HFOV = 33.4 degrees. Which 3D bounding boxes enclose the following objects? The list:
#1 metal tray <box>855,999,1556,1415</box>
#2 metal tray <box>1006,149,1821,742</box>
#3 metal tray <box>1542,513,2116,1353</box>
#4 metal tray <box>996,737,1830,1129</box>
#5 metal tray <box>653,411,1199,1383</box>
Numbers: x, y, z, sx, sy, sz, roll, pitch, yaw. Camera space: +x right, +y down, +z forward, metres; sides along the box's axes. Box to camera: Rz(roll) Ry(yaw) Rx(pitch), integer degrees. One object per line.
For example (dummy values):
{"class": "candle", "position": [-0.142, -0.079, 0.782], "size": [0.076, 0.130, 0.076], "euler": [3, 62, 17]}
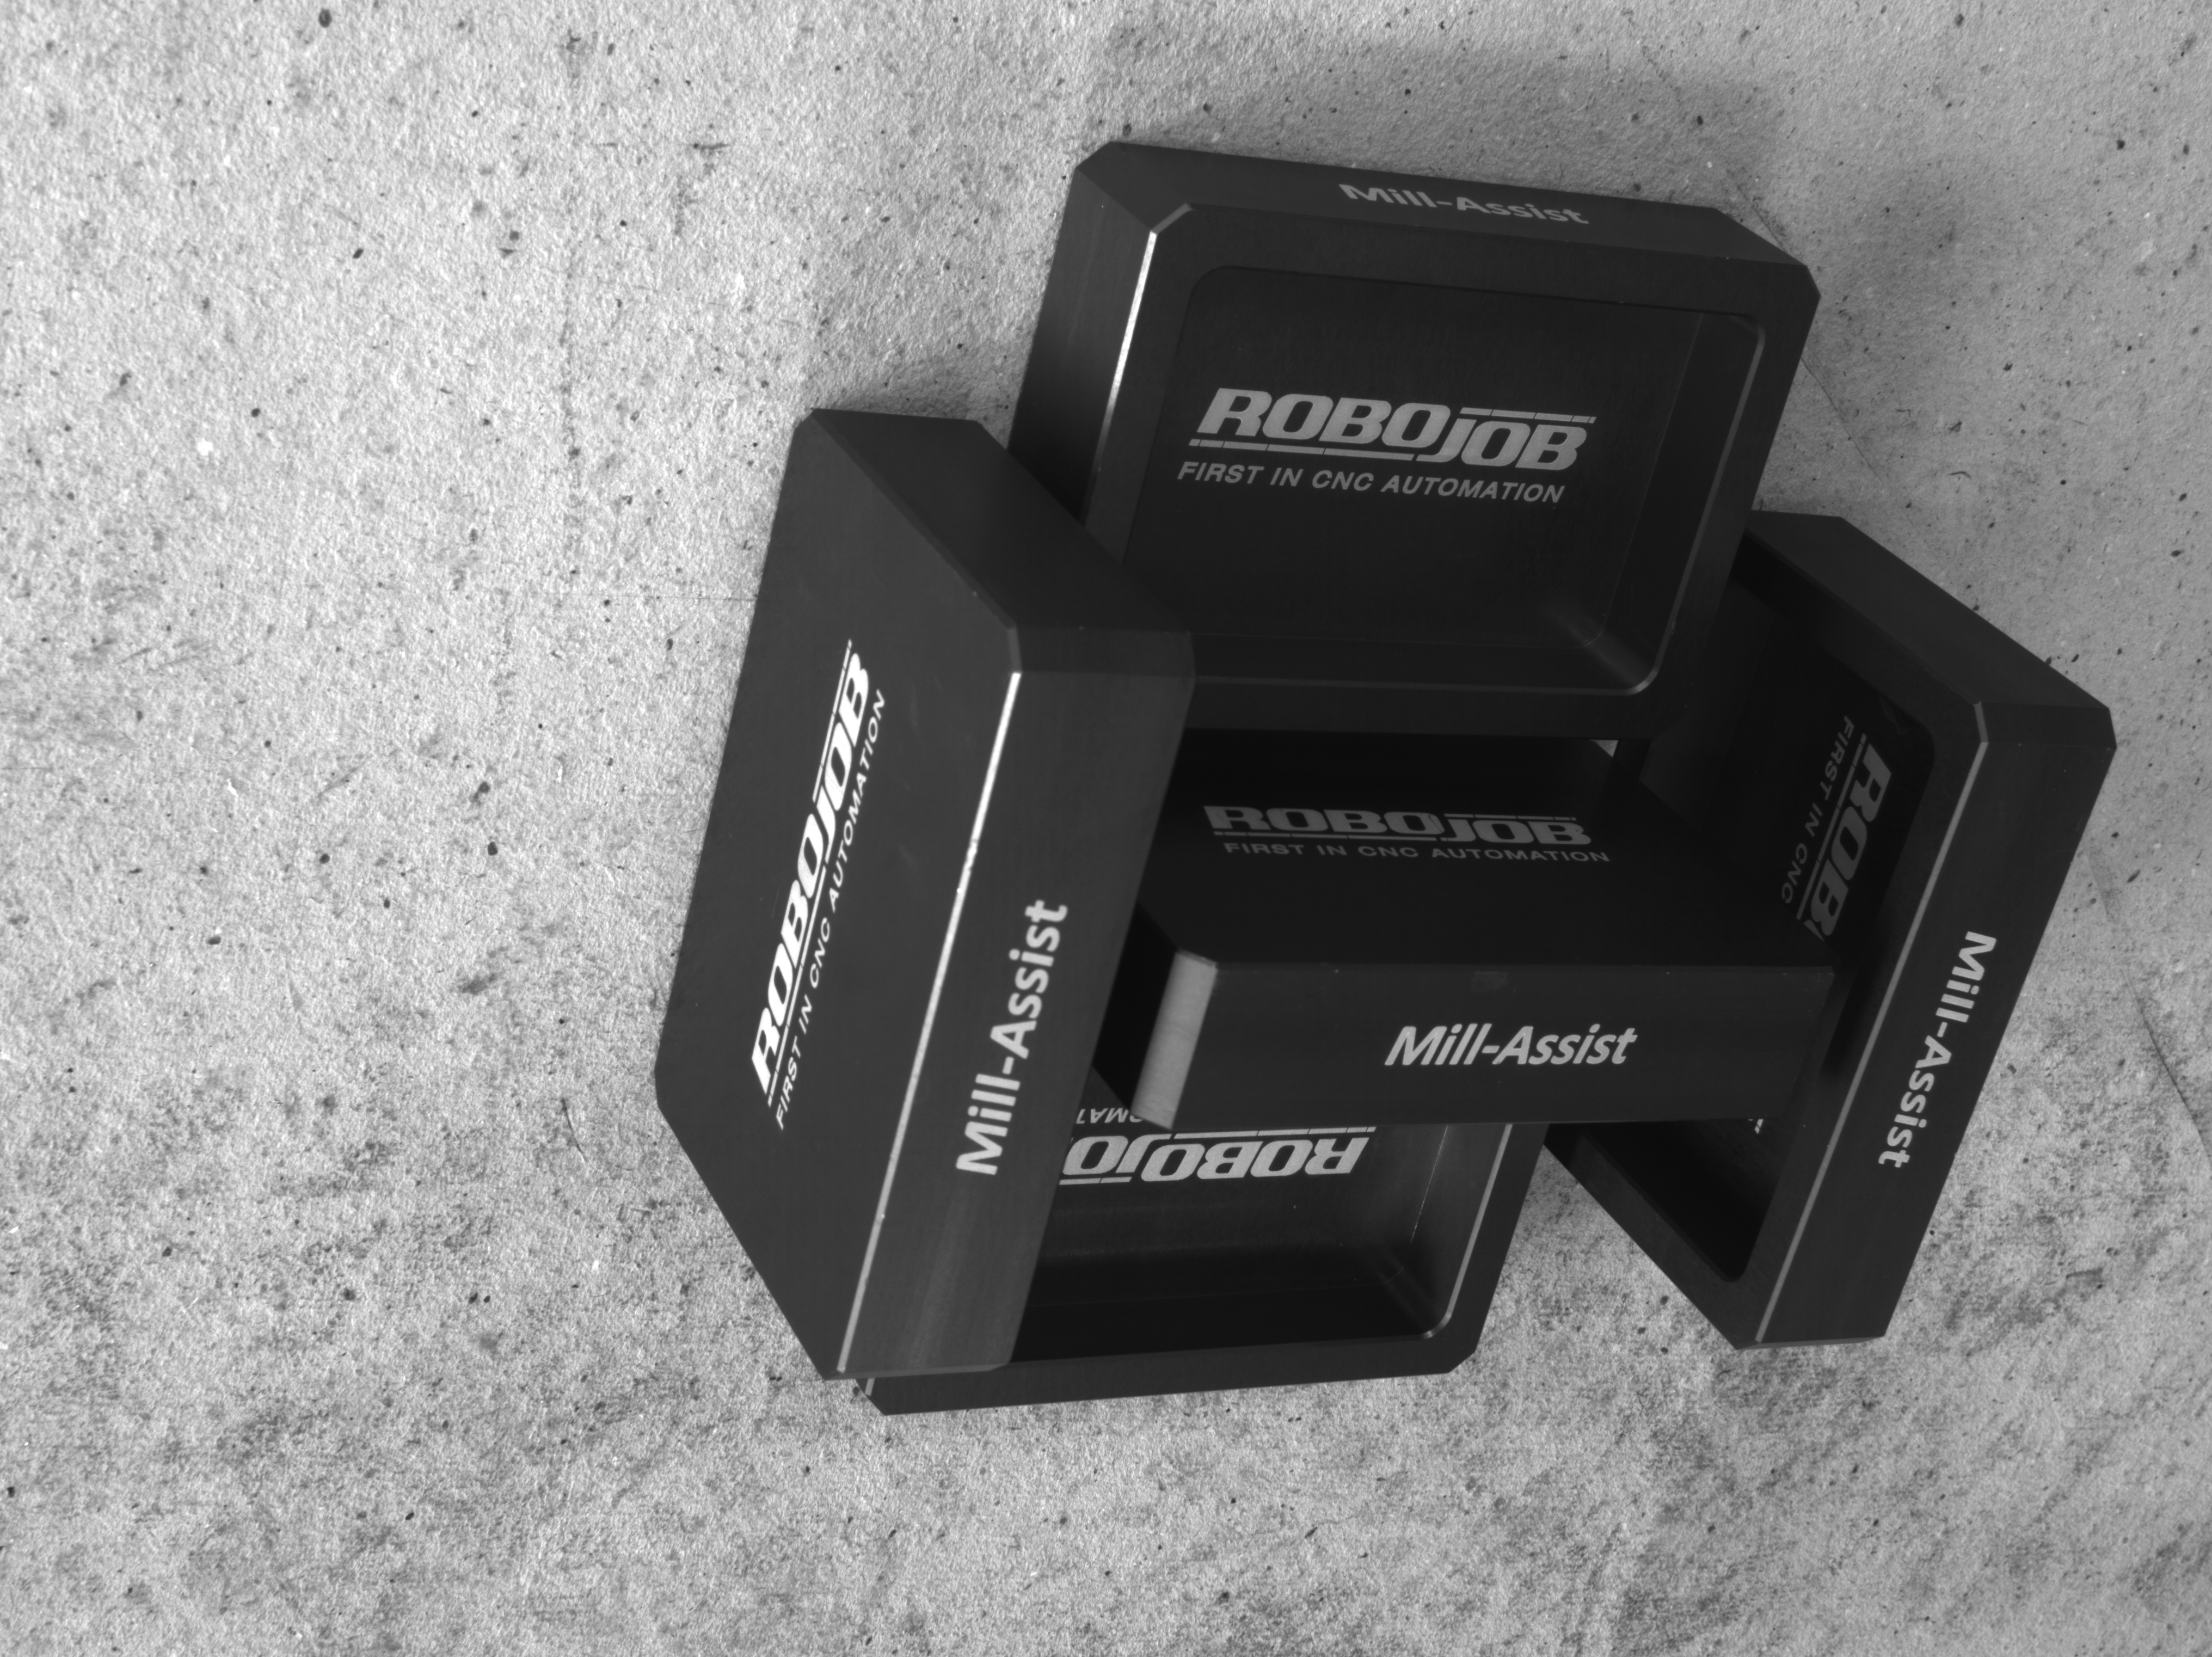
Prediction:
{"class": "metal tray", "position": [0.017, 0.059, 0.681], "size": [0.130, 0.030, 0.090], "euler": [1, 117, -28]}
{"class": "metal tray", "position": [0.049, -0.062, 0.623], "size": [0.130, 0.030, 0.090], "euler": [0, 121, -28]}
{"class": "metal tray", "position": [0.125, 0.018, 0.674], "size": [0.030, 0.090, 0.130], "euler": [1, 117, -29]}
{"class": "metal tray", "position": [0.046, 0.013, 0.630], "size": [0.130, 0.090, 0.030], "euler": [1, 119, -29]}
{"class": "metal tray", "position": [-0.032, 0.010, 0.585], "size": [0.030, 0.090, 0.130], "euler": [1, 118, -29]}
